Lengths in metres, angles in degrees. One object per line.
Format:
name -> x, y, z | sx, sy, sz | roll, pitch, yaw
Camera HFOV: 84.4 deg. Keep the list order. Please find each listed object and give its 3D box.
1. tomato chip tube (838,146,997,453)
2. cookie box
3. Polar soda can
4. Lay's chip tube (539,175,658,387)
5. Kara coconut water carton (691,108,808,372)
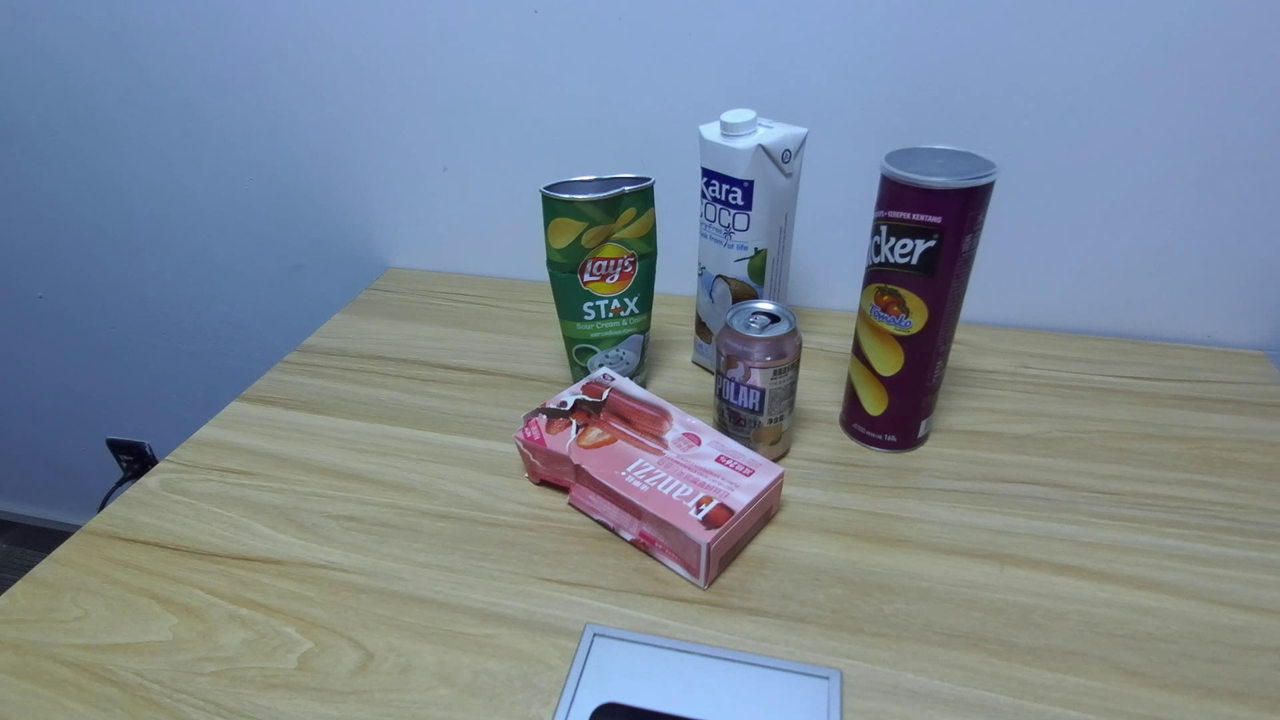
tomato chip tube -> 0.211, -0.039, 0.550 | 0.078, 0.234, 0.078 | -2, 35, 2
cookie box -> 0.006, 0.080, 0.537 | 0.185, 0.059, 0.105 | 25, 44, 32
Polar soda can -> 0.093, 0.018, 0.566 | 0.067, 0.126, 0.067 | -2, 33, 2
Lay's chip tube -> -0.030, -0.058, 0.614 | 0.068, 0.200, 0.075 | 24, 43, 32
Kara coconut water carton -> 0.093, -0.097, 0.630 | 0.075, 0.245, 0.076 | -24, 39, -32
